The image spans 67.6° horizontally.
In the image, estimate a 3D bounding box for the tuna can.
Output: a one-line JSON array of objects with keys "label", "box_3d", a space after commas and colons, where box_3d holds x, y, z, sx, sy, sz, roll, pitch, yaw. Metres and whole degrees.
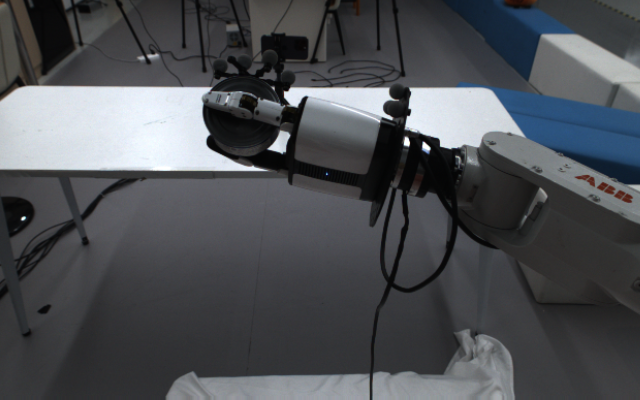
[{"label": "tuna can", "box_3d": [-0.086, -0.094, 0.545, 0.085, 0.034, 0.085, 1, 73, -3]}]
